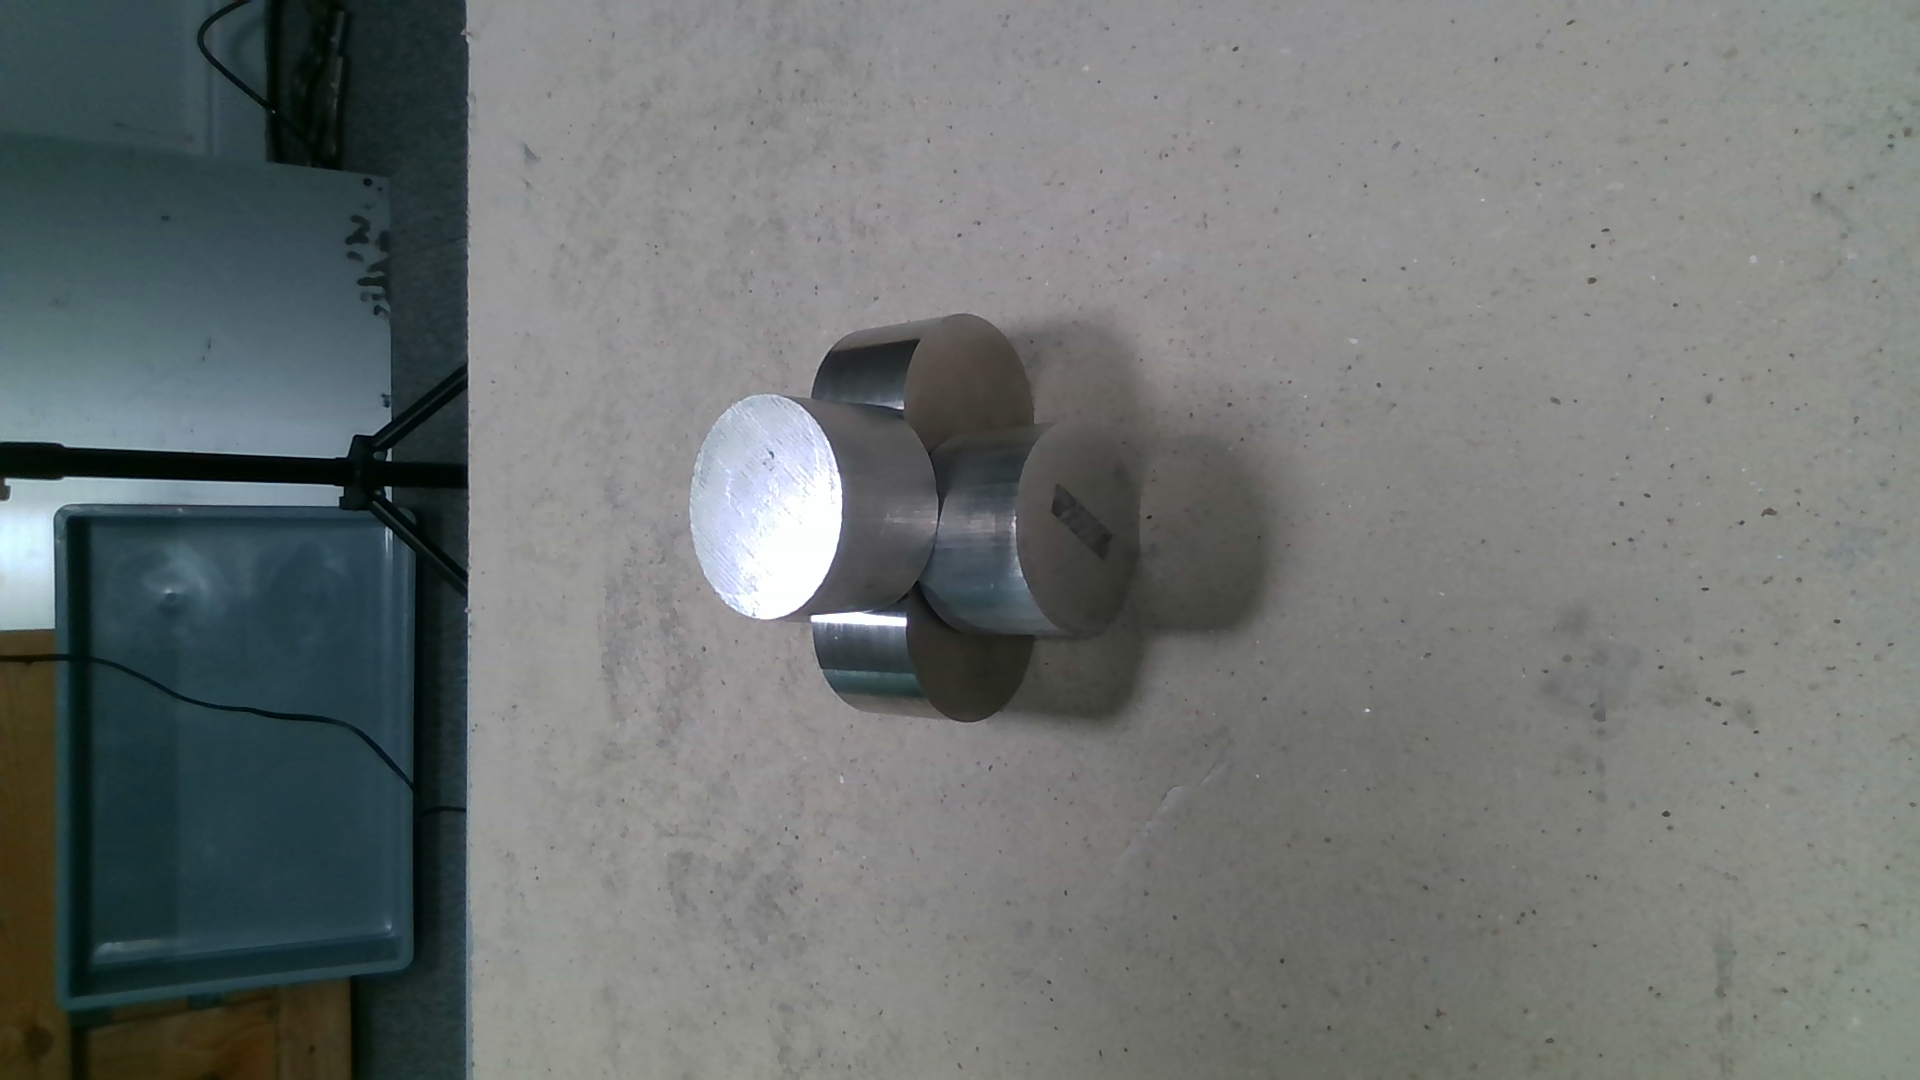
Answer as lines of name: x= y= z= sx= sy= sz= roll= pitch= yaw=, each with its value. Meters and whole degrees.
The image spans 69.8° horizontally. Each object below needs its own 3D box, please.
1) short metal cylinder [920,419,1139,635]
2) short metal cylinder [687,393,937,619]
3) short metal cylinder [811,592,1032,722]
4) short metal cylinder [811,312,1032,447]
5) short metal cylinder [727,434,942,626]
short metal cylinder: x=0.025 y=-0.004 z=0.525 sx=0.050 sy=0.080 sz=0.080 roll=-2 pitch=89 yaw=40
short metal cylinder: x=-0.055 y=-0.012 z=0.507 sx=0.080 sy=0.050 sz=0.080 roll=0 pitch=91 yaw=40
short metal cylinder: x=-0.014 y=0.032 z=0.558 sx=0.050 sy=0.080 sz=0.080 roll=0 pitch=90 yaw=40
short metal cylinder: x=-0.015 y=-0.049 z=0.558 sx=0.050 sy=0.080 sz=0.080 roll=-1 pitch=89 yaw=40
short metal cylinder: x=-0.053 y=-0.004 z=0.591 sx=0.050 sy=0.080 sz=0.080 roll=0 pitch=90 yaw=40
